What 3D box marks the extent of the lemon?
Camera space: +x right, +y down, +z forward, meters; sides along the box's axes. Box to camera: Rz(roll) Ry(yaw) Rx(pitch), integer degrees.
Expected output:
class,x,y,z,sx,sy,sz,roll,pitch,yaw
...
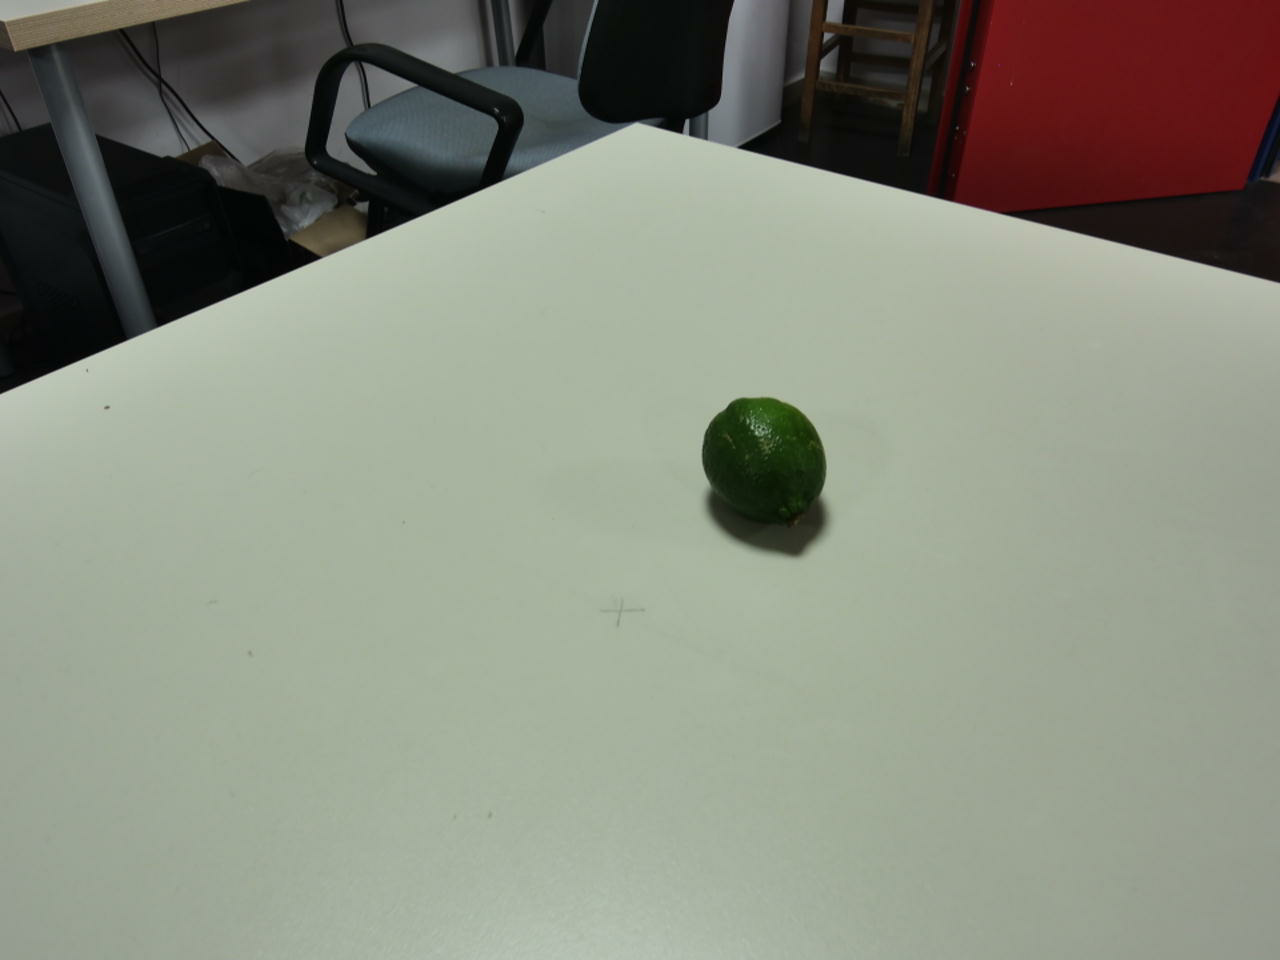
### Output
class,x,y,z,sx,sy,sz,roll,pitch,yaw
lemon,0.054,-0.010,0.438,0.057,0.051,0.054,23,43,29
